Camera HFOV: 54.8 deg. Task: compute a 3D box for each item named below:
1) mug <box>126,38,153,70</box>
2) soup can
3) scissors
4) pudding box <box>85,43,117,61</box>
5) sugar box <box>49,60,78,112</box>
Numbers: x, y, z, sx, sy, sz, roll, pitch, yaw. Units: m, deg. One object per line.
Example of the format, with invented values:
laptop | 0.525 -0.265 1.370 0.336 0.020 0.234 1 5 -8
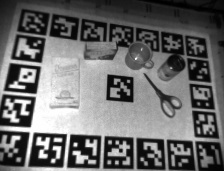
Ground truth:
mug | 0.107 -0.108 0.814 0.094 0.081 0.117 -32 81 -16
soup can | 0.220 -0.062 0.823 0.068 0.102 0.067 3 71 -9
scissors | 0.189 0.038 0.822 0.088 0.016 0.202 -39 86 -10
pudding box | -0.038 -0.121 0.778 0.114 0.089 0.038 -5 81 -14
sugar box | -0.165 0.000 0.745 0.093 0.045 0.176 1 75 -10
